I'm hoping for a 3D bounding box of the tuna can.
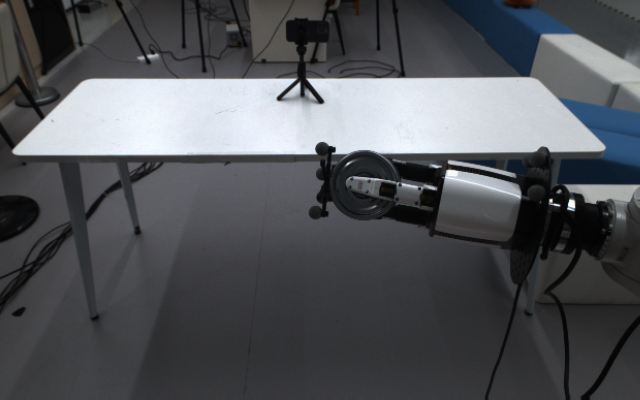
[{"bbox_3d":[0.059,-0.015,0.589,0.085,0.085,0.034,10,2,11],"label":"tuna can"}]
